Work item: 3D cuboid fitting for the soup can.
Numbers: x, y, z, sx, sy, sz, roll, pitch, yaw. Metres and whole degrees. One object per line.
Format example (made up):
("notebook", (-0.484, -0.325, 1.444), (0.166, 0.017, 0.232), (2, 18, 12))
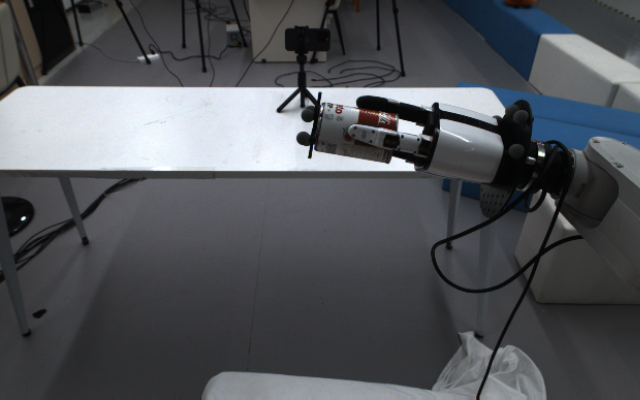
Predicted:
("soup can", (0.050, -0.090, 0.649), (0.101, 0.067, 0.067), (10, 35, 0))
